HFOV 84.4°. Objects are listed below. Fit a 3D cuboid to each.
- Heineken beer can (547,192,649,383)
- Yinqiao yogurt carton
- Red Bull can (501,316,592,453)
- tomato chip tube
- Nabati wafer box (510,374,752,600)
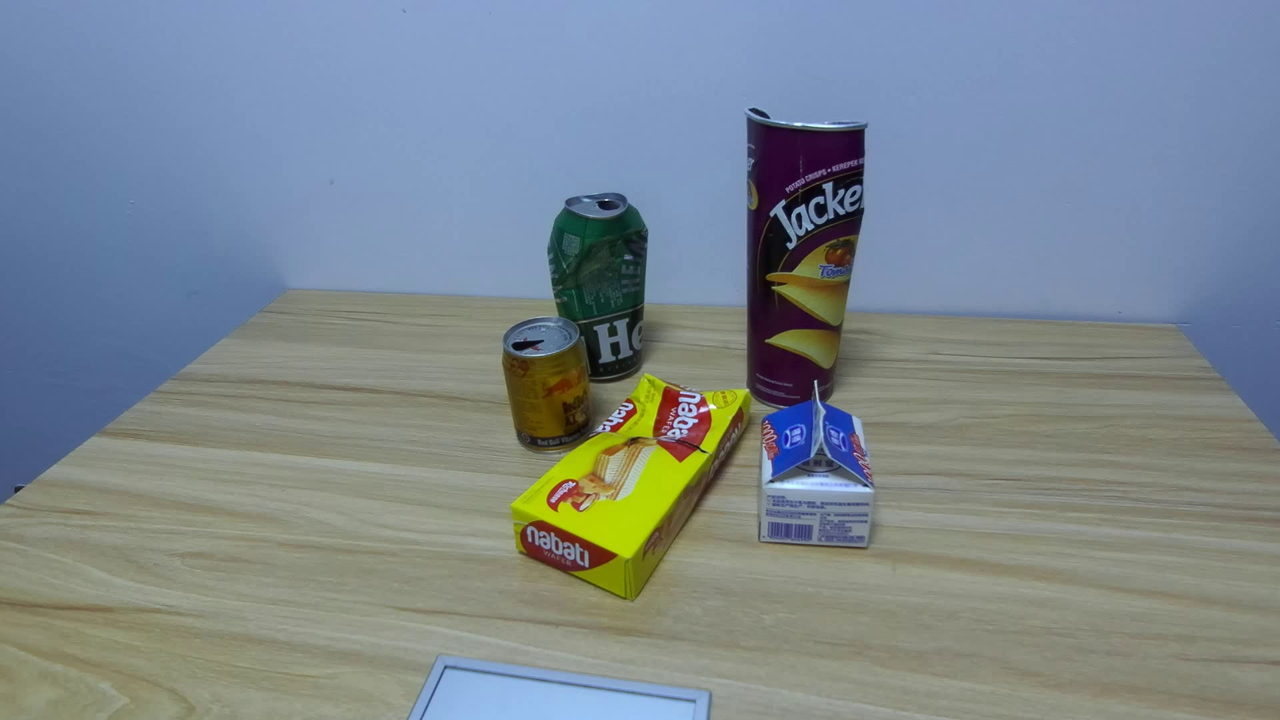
[{"bbox_3d":[-0.036,-0.062,0.623,0.077,0.164,0.066,8,34,13],"label":"Heineken beer can"},{"bbox_3d":[0.117,0.066,0.473,0.073,0.092,0.075,1,31,9],"label":"Yinqiao yogurt carton"},{"bbox_3d":[-0.074,0.020,0.570,0.067,0.093,0.067,-2,32,1],"label":"Red Bull can"},{"bbox_3d":[0.126,-0.076,0.565,0.076,0.235,0.077,-7,31,-5],"label":"tomato chip tube"},{"bbox_3d":[0.001,0.075,0.525,0.106,0.042,0.205,15,36,25],"label":"Nabati wafer box"}]
